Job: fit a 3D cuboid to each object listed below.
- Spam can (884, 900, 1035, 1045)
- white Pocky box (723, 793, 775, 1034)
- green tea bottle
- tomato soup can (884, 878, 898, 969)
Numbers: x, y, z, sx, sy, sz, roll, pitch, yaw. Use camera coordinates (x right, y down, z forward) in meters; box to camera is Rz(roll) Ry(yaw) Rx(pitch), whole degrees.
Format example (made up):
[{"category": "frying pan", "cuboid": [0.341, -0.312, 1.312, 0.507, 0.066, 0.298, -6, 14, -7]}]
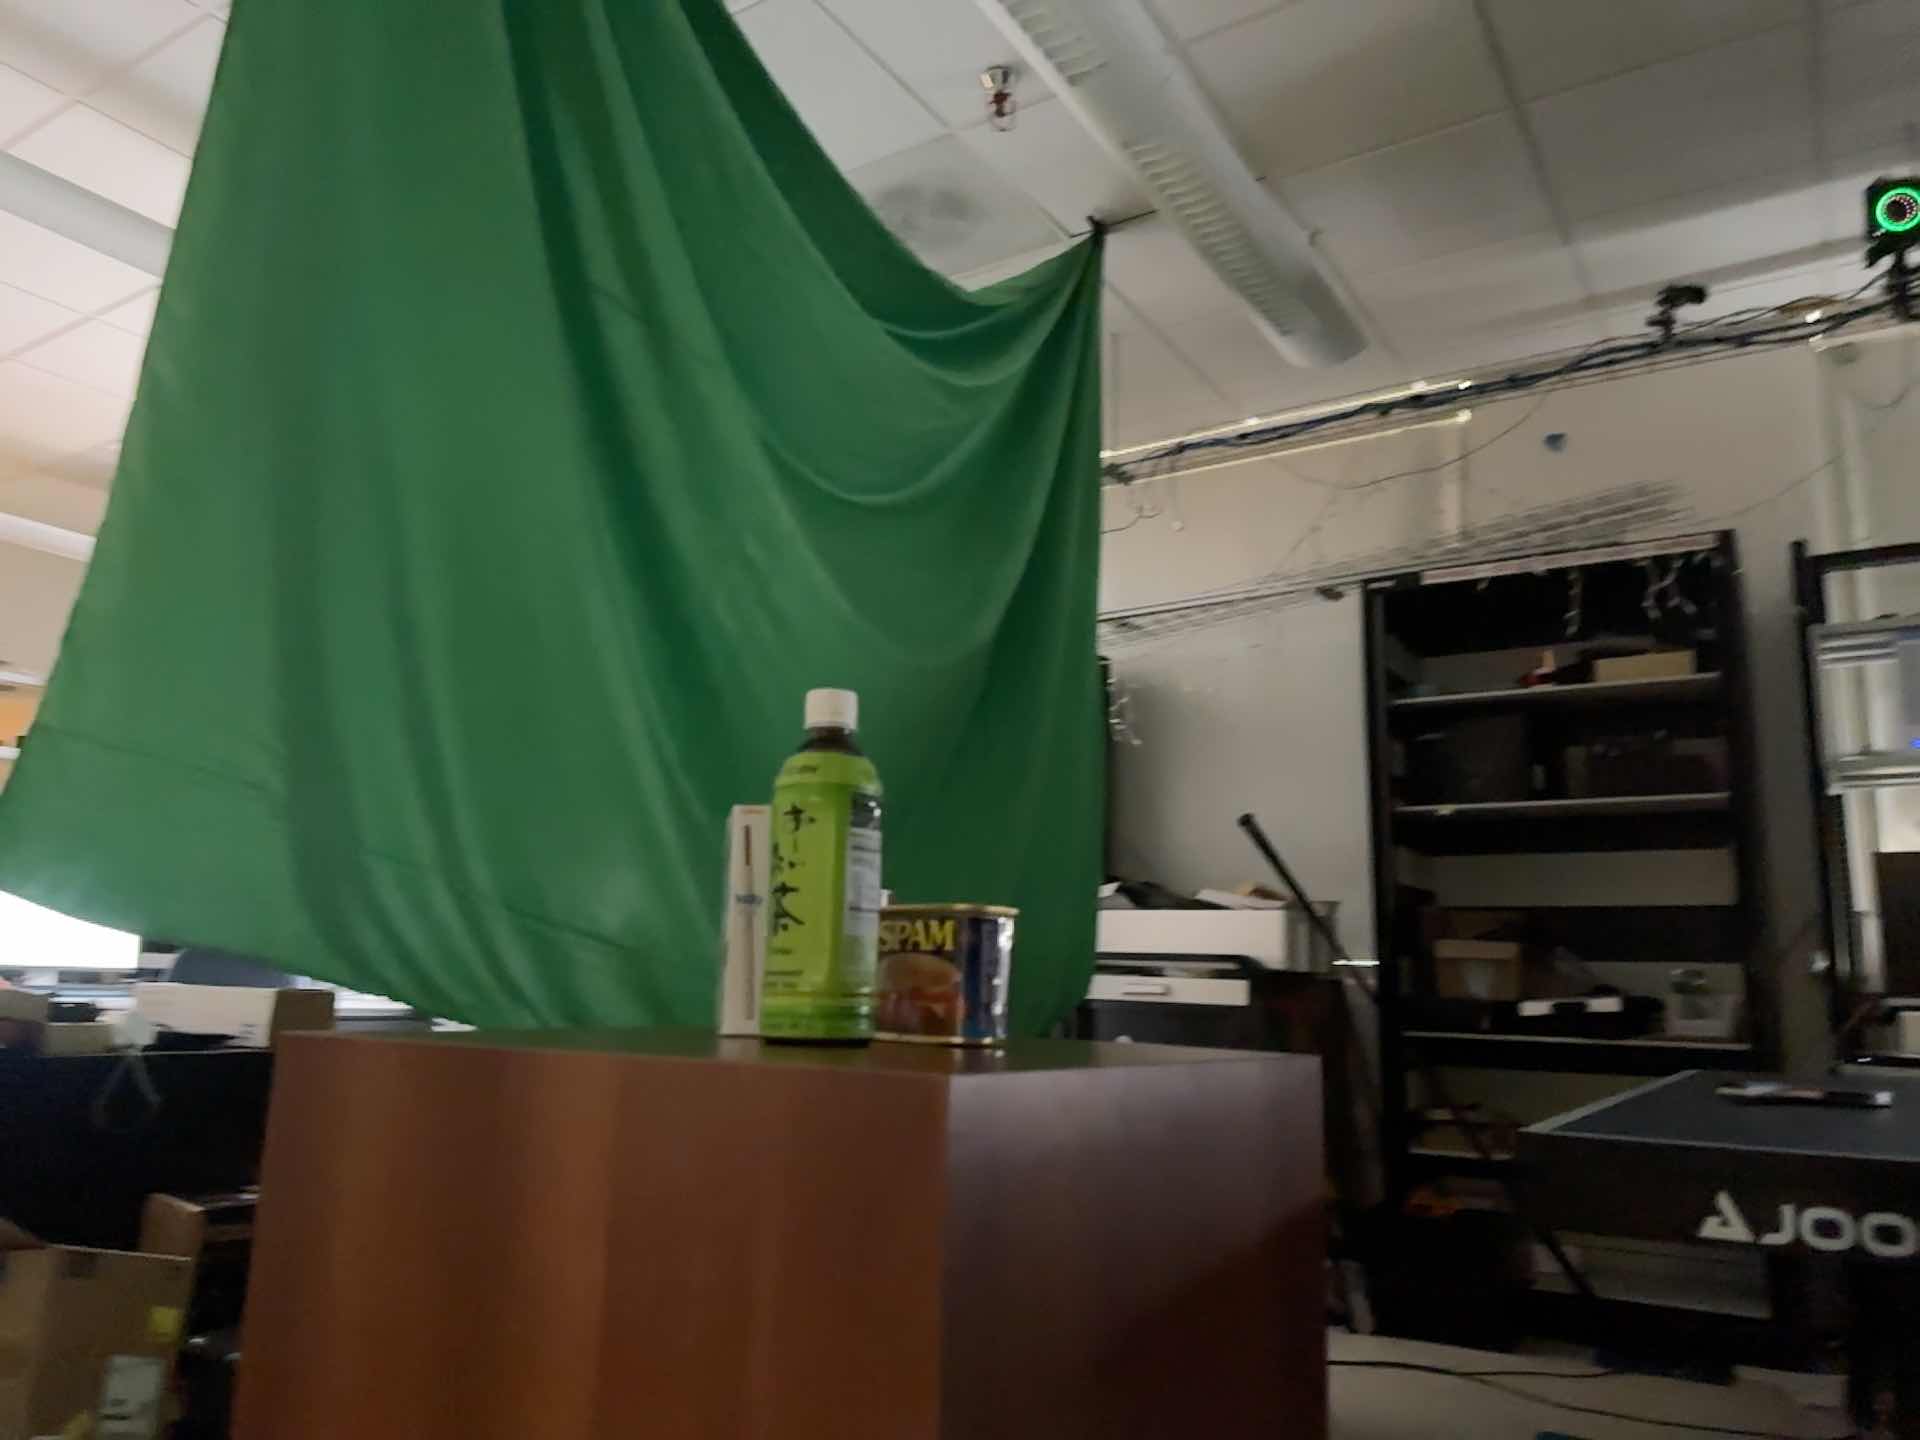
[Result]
[{"category": "Spam can", "cuboid": [-0.003, 0.156, 0.842, 0.056, 0.083, 0.100, 10, -12, -41]}, {"category": "white Pocky box", "cuboid": [-0.140, 0.129, 0.906, 0.028, 0.154, 0.084, 3, -9, -14]}, {"category": "green tea bottle", "cuboid": [-0.078, 0.080, 0.794, 0.073, 0.212, 0.073, -1, -11, 0]}, {"category": "tomato soup can", "cuboid": [-0.081, 0.163, 0.960, 0.067, 0.102, 0.067, 3, -8, 0]}]
